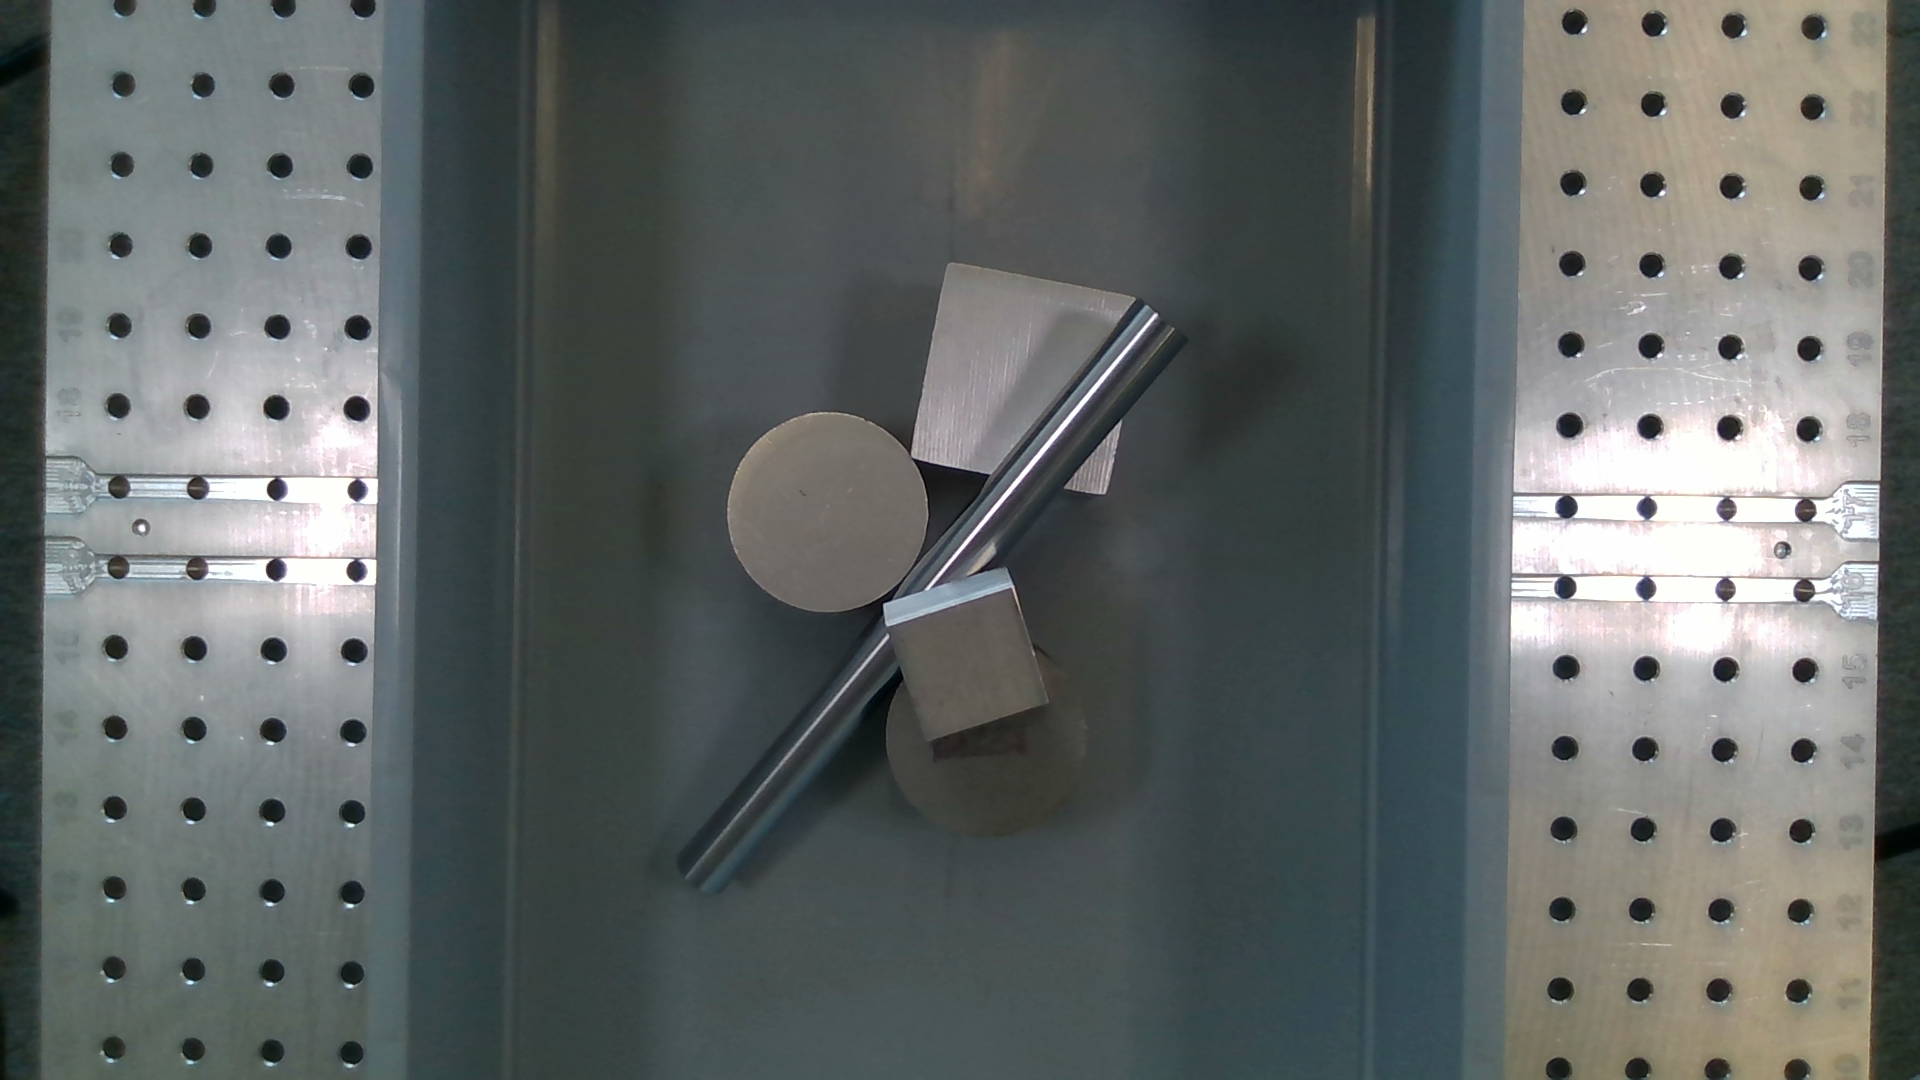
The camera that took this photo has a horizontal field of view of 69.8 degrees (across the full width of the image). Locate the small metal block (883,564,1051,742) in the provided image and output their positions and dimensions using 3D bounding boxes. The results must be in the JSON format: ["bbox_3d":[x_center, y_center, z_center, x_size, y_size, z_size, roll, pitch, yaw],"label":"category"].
[{"bbox_3d":[0.002,0.043,0.530,0.050,0.025,0.050,-18,108,0],"label":"small metal block"}]

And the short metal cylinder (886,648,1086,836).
[{"bbox_3d":[0.010,0.078,0.575,0.080,0.050,0.080,0,90,0],"label":"short metal cylinder"}]

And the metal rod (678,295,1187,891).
[{"bbox_3d":[-0.017,0.028,0.551,0.025,0.025,0.300,40,104,0],"label":"metal rod"}]

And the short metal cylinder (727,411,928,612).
[{"bbox_3d":[-0.053,-0.011,0.573,0.080,0.050,0.080,0,90,0],"label":"short metal cylinder"}]

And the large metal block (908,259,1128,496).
[{"bbox_3d":[0.026,-0.065,0.571,0.080,0.050,0.080,11,90,0],"label":"large metal block"}]
